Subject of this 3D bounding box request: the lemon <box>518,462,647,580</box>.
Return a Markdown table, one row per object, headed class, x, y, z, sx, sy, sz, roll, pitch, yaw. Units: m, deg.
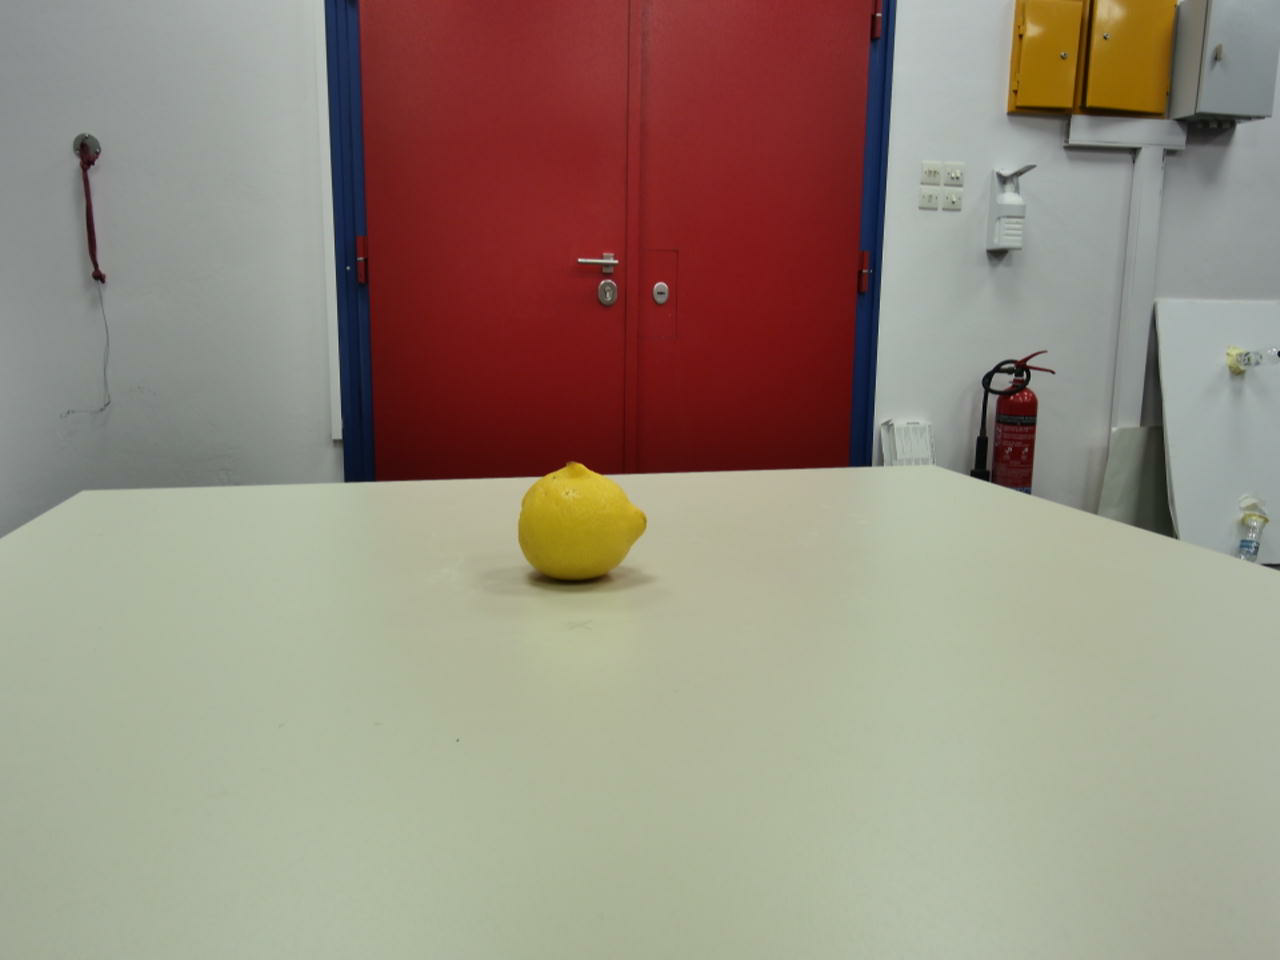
| class | x | y | z | sx | sy | sz | roll | pitch | yaw |
| --- | --- | --- | --- | --- | --- | --- | --- | --- | --- |
| lemon | -0.039 | 0.024 | 0.603 | 0.071 | 0.071 | 0.070 | 7 | 11 | 43 |
